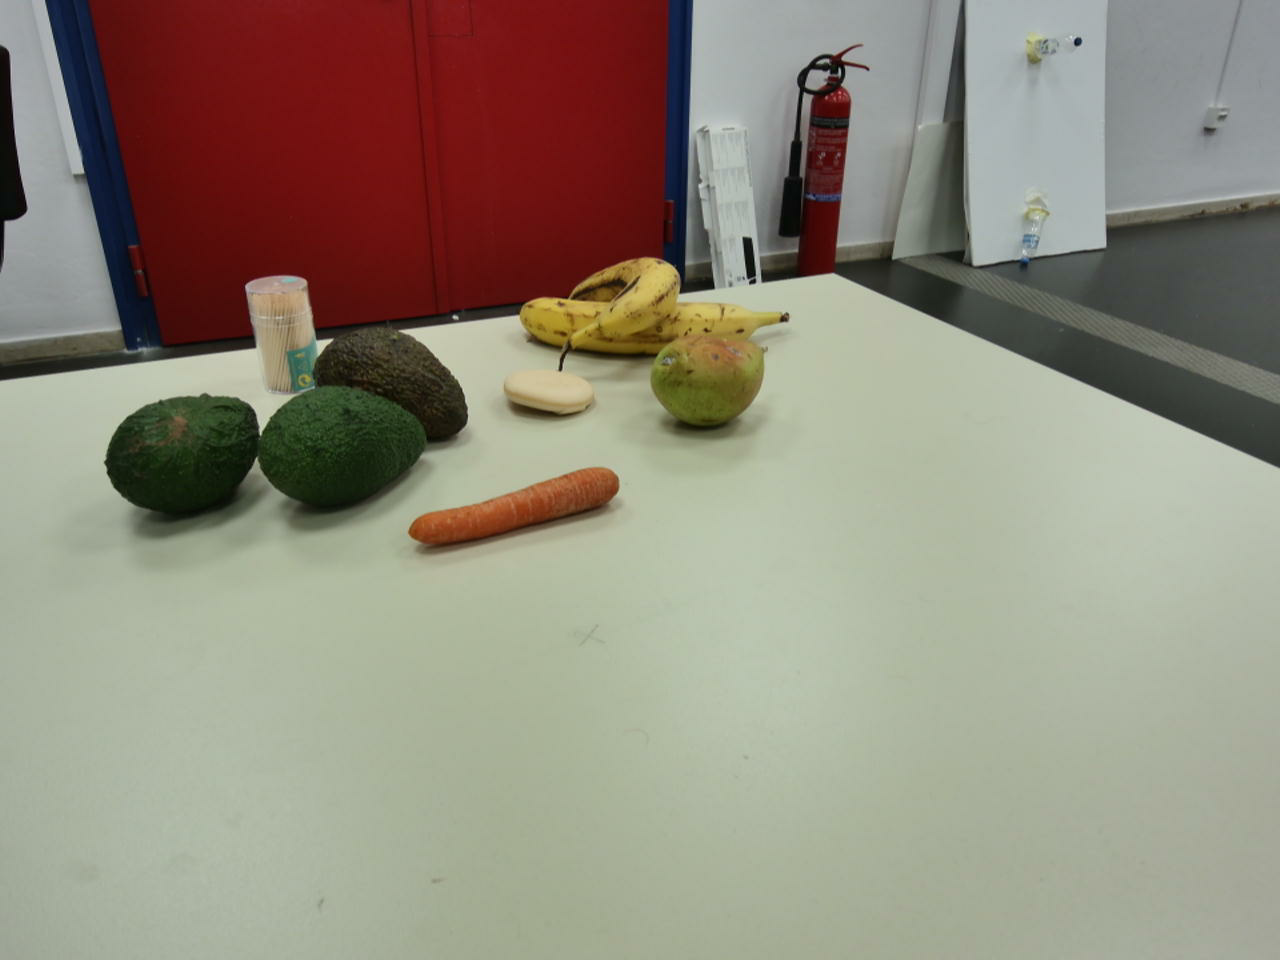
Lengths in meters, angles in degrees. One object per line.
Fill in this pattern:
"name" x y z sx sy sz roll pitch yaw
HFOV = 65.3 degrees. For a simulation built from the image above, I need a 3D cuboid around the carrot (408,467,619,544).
"carrot" -0.066 0.014 0.549 0.122 0.023 0.024 -13 29 -25
